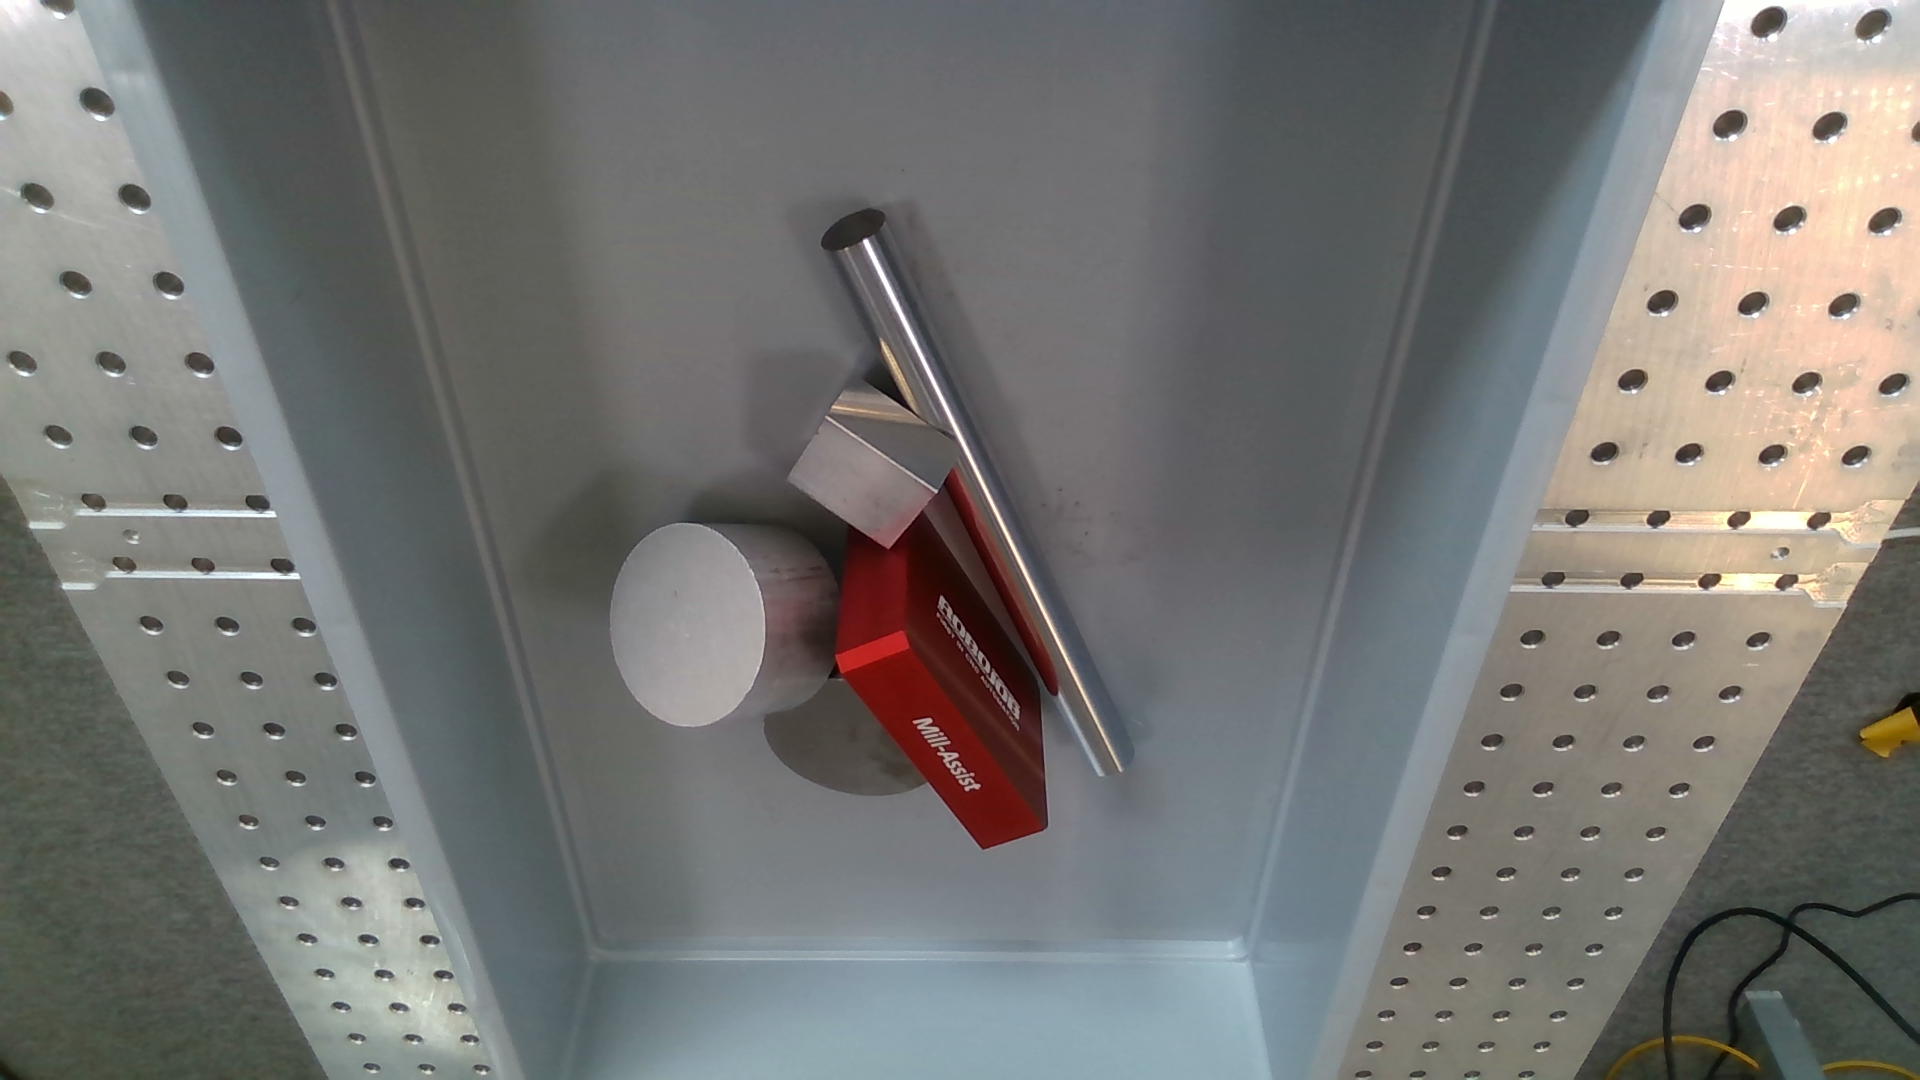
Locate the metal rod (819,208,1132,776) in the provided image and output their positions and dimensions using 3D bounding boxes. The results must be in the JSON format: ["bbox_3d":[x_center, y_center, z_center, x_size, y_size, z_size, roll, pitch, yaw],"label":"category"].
[{"bbox_3d":[0.017,-0.003,0.576,0.025,0.025,0.301,-17,128,14],"label":"metal rod"}]

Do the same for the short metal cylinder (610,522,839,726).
[{"bbox_3d":[-0.095,0.033,0.561,0.080,0.080,0.050,-35,163,26],"label":"short metal cylinder"}]

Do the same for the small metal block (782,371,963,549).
[{"bbox_3d":[-0.035,-0.030,0.536,0.050,0.025,0.050,34,143,-7],"label":"small metal block"}]

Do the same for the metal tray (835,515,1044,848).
[{"bbox_3d":[-0.005,0.057,0.584,0.030,0.090,0.130,-21,127,17],"label":"metal tray"}]

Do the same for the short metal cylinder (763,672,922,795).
[{"bbox_3d":[-0.043,0.069,0.614,0.080,0.050,0.080,6,134,6],"label":"short metal cylinder"}]
